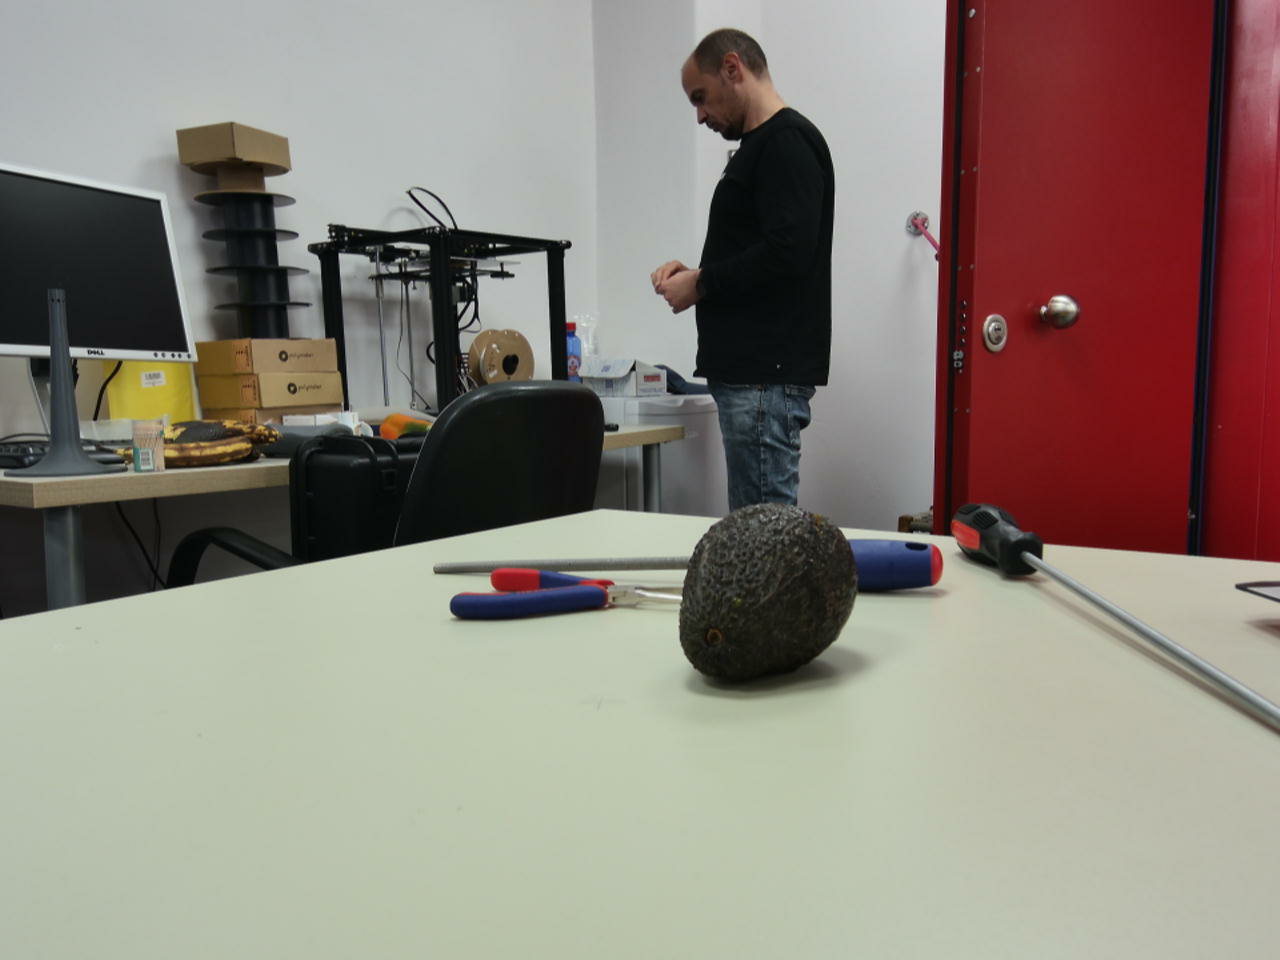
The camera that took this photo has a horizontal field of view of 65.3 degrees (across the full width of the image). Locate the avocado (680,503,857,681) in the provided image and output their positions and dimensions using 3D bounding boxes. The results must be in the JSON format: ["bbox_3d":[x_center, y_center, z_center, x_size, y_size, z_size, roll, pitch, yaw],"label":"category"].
[{"bbox_3d":[0.051,0.045,0.424,0.090,0.069,0.070,-2,3,-27],"label":"avocado"}]
